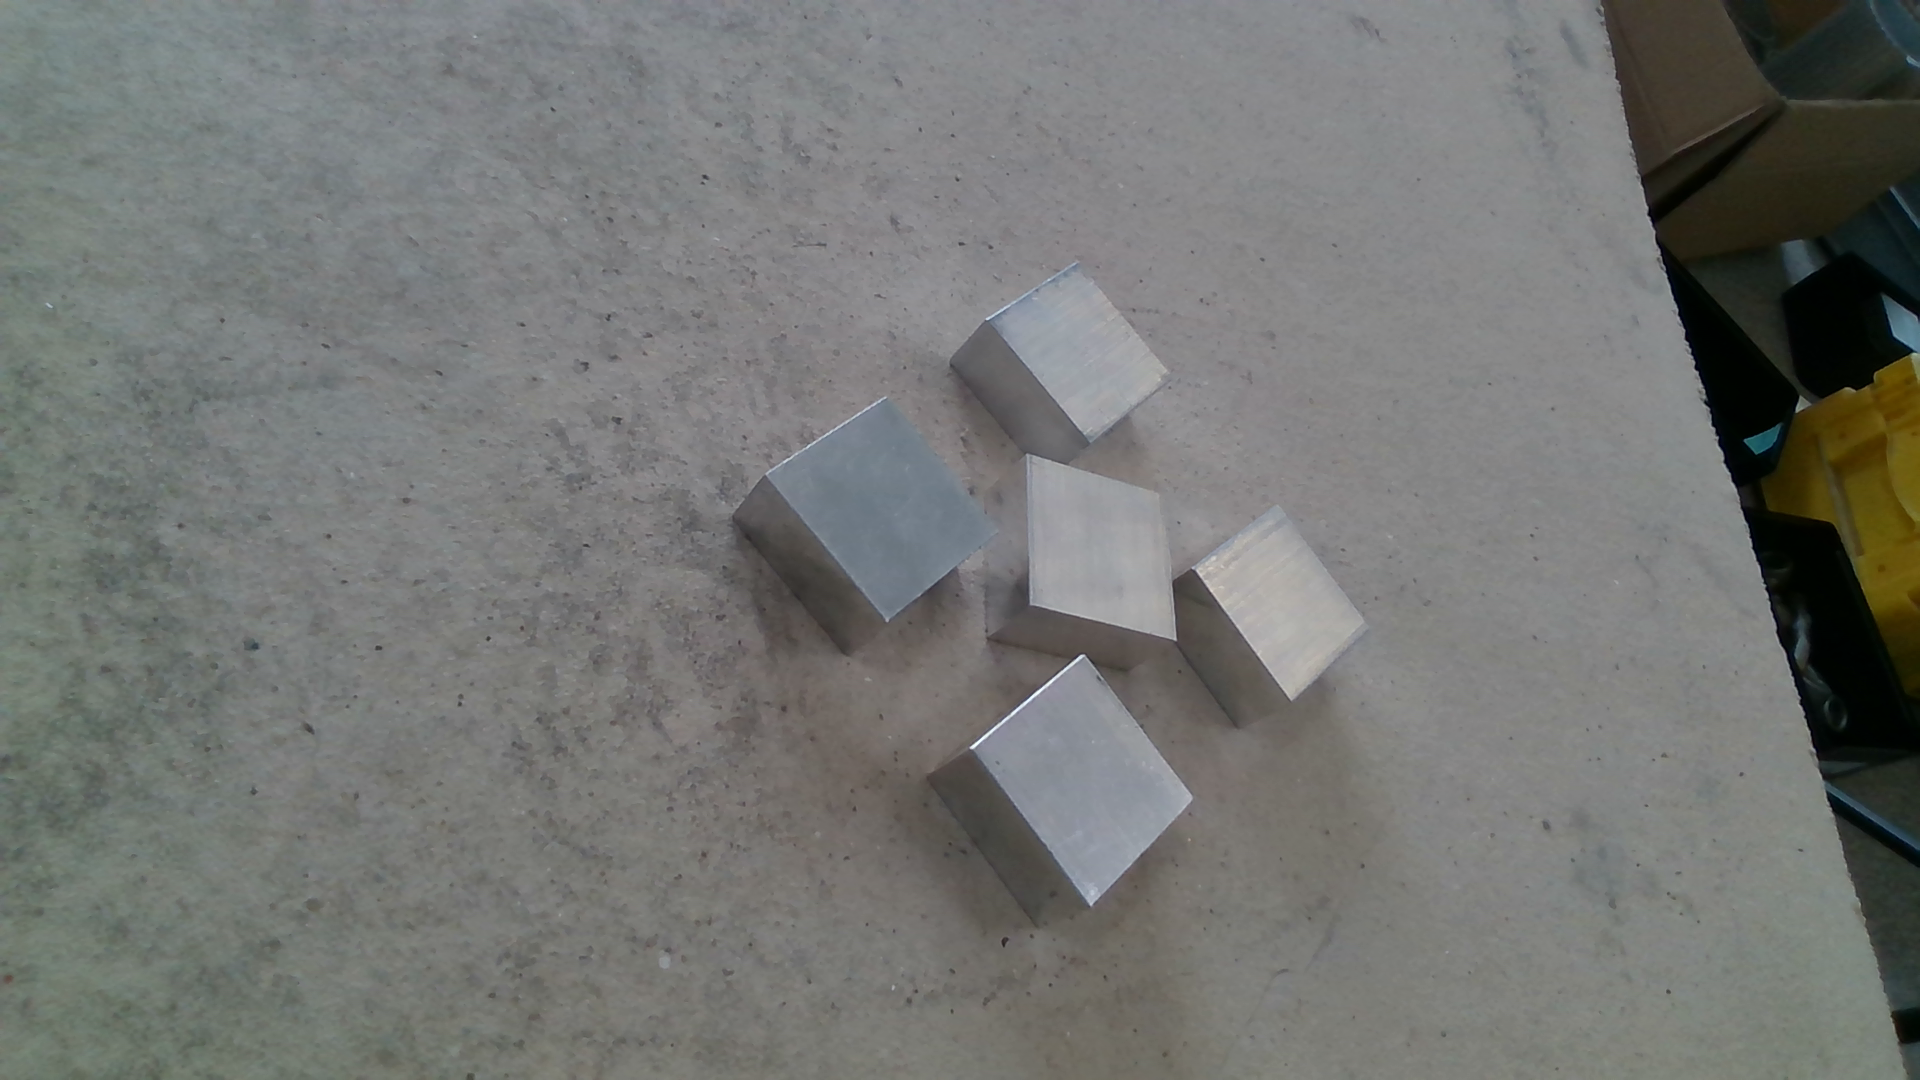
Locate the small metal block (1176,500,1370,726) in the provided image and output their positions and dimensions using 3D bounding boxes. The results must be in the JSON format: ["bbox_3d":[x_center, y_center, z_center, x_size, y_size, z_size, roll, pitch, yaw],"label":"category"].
[{"bbox_3d":[0.095,0.023,0.439,0.050,0.025,0.050,-32,85,-39],"label":"small metal block"}]

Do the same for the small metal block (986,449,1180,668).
[{"bbox_3d":[0.036,0.006,0.411,0.050,0.025,0.050,15,58,-25],"label":"small metal block"}]

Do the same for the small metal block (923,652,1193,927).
[{"bbox_3d":[0.027,0.067,0.375,0.050,0.025,0.050,-35,86,-39],"label":"small metal block"}]

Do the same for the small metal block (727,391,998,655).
[{"bbox_3d":[-0.026,-0.005,0.380,0.050,0.025,0.050,51,51,1],"label":"small metal block"}]

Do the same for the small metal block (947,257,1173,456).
[{"bbox_3d":[0.033,-0.056,0.443,0.050,0.025,0.050,51,51,0],"label":"small metal block"}]
